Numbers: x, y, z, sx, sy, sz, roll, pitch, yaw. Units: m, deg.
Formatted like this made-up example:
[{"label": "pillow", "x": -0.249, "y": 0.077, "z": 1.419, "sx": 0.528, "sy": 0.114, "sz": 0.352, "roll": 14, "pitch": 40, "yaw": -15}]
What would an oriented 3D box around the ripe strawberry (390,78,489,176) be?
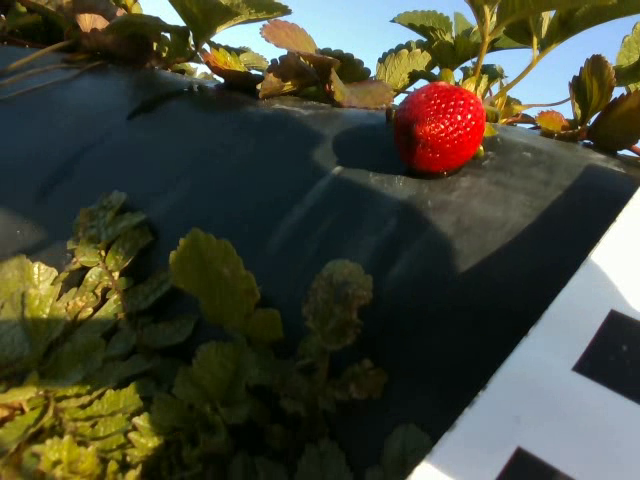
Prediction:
[{"label": "ripe strawberry", "x": 0.042, "y": -0.041, "z": 0.228, "sx": 0.040, "sy": 0.037, "sz": 0.044, "roll": 12, "pitch": 25, "yaw": 16}]
